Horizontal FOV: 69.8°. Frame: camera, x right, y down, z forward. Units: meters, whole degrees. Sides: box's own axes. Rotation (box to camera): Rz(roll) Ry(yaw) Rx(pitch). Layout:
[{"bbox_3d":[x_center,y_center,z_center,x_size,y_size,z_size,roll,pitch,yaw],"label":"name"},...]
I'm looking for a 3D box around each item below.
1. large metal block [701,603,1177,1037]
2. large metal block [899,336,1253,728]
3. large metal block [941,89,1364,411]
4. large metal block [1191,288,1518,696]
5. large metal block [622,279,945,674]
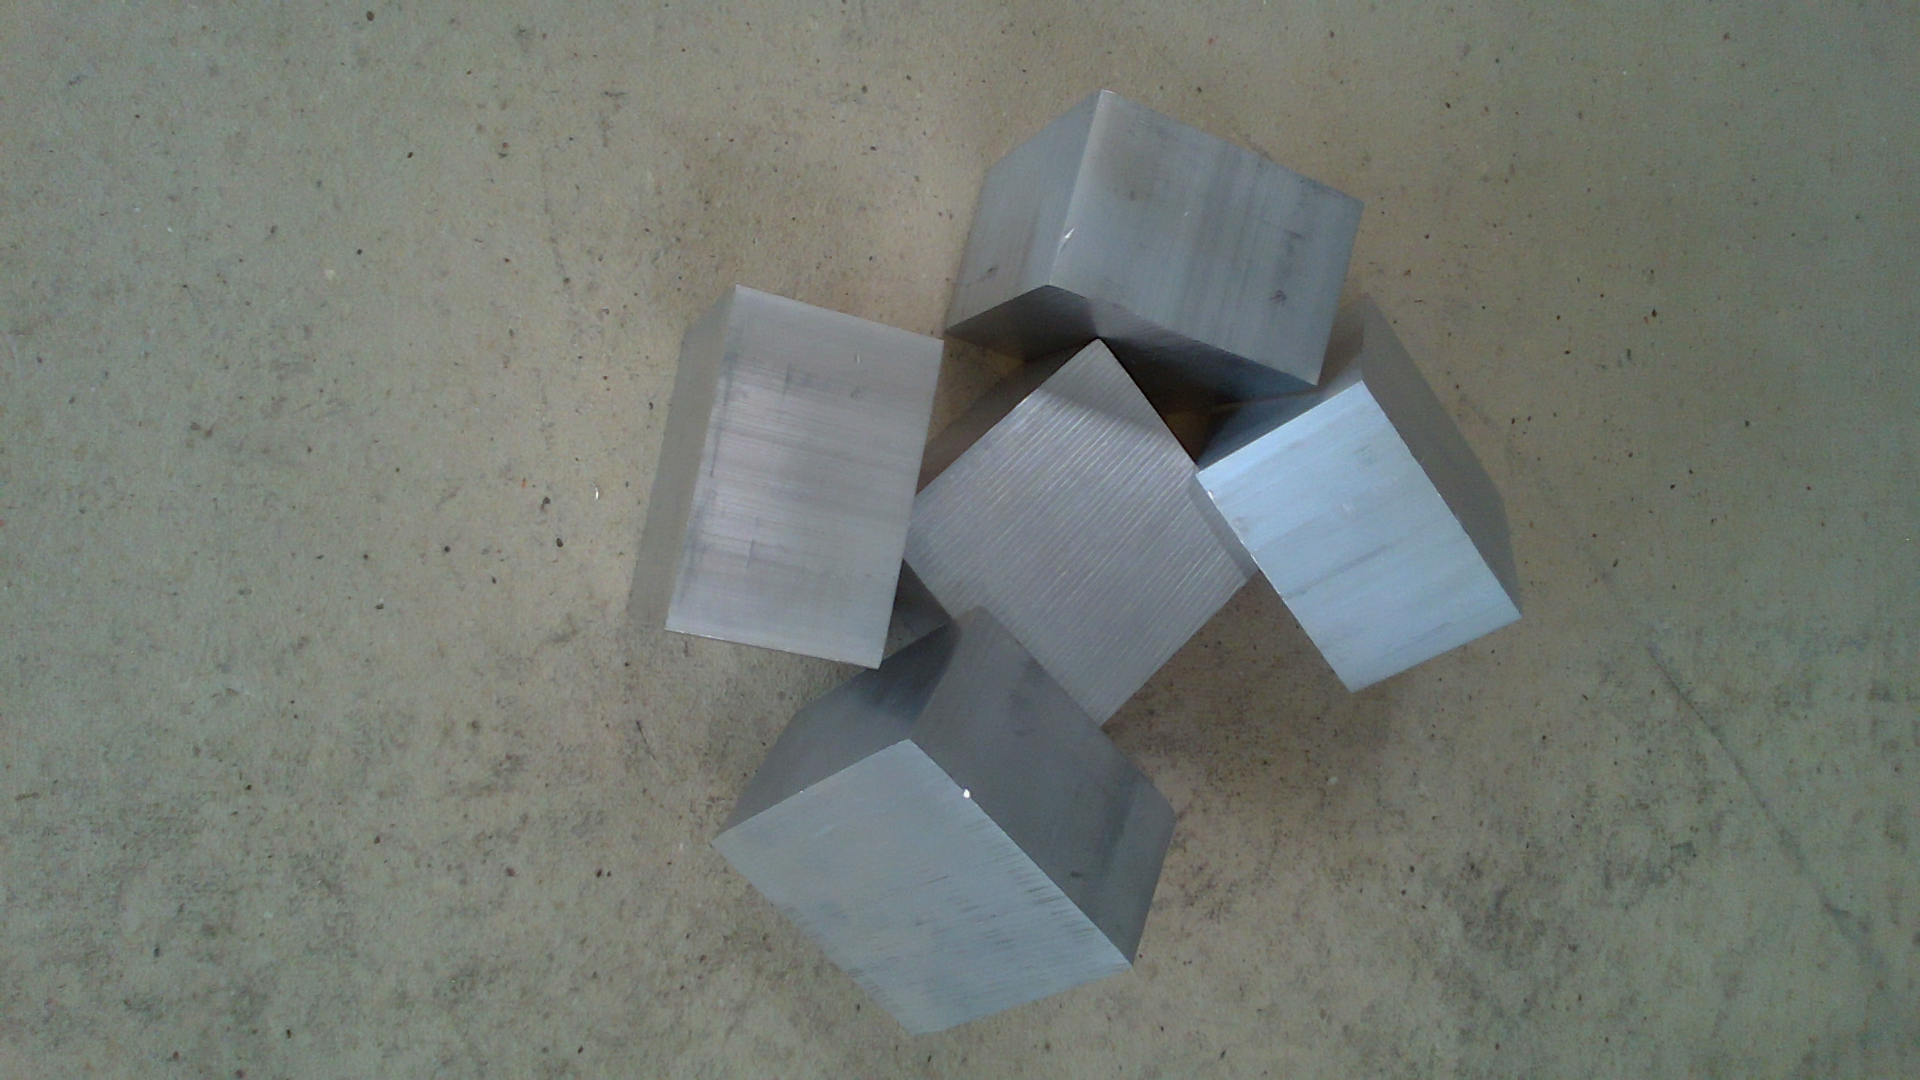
[{"bbox_3d":[-0.005,0.075,0.357,0.080,0.080,0.050,47,39,-14],"label":"large metal block"},{"bbox_3d":[0.024,0.001,0.387,0.080,0.050,0.080,-43,105,-15],"label":"large metal block"},{"bbox_3d":[0.050,-0.075,0.383,0.080,0.080,0.050,17,84,-19],"label":"large metal block"},{"bbox_3d":[0.115,-0.016,0.400,0.050,0.080,0.080,-31,104,28],"label":"large metal block"},{"bbox_3d":[-0.048,-0.014,0.348,0.050,0.080,0.080,13,87,-20],"label":"large metal block"}]
